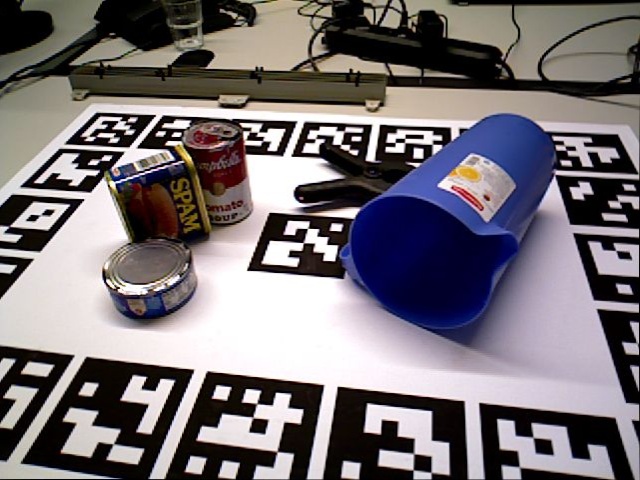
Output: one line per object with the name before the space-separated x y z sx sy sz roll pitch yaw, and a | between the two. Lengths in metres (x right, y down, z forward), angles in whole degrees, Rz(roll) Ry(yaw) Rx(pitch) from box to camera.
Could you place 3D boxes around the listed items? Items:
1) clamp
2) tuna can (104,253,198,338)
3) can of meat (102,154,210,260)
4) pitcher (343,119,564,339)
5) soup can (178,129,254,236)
clamp | 0.050 -0.058 0.661 0.165 0.037 0.119 8 38 8
tuna can | -0.164 0.054 0.533 0.085 0.034 0.084 -3 43 2
can of meat | -0.171 -0.027 0.571 0.082 0.104 0.057 -22 45 -16
pitcher | 0.142 -0.027 0.522 0.191 0.135 0.236 -1 28 38
soup can | -0.115 -0.064 0.616 0.068 0.104 0.067 -4 42 3
